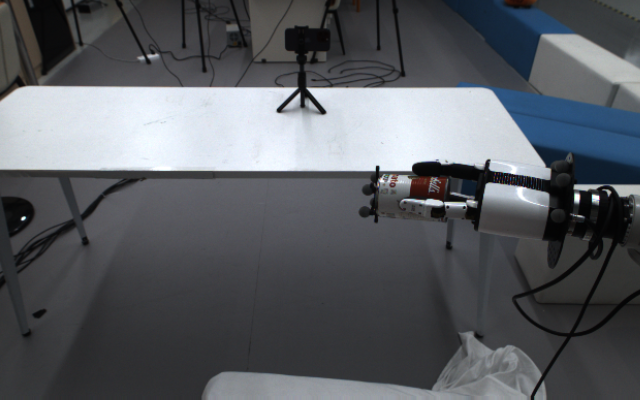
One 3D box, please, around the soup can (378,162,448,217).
[{"bbox_3d":[0.142,-0.005,0.725,0.101,0.067,0.067,4,34,18],"label":"soup can"}]
